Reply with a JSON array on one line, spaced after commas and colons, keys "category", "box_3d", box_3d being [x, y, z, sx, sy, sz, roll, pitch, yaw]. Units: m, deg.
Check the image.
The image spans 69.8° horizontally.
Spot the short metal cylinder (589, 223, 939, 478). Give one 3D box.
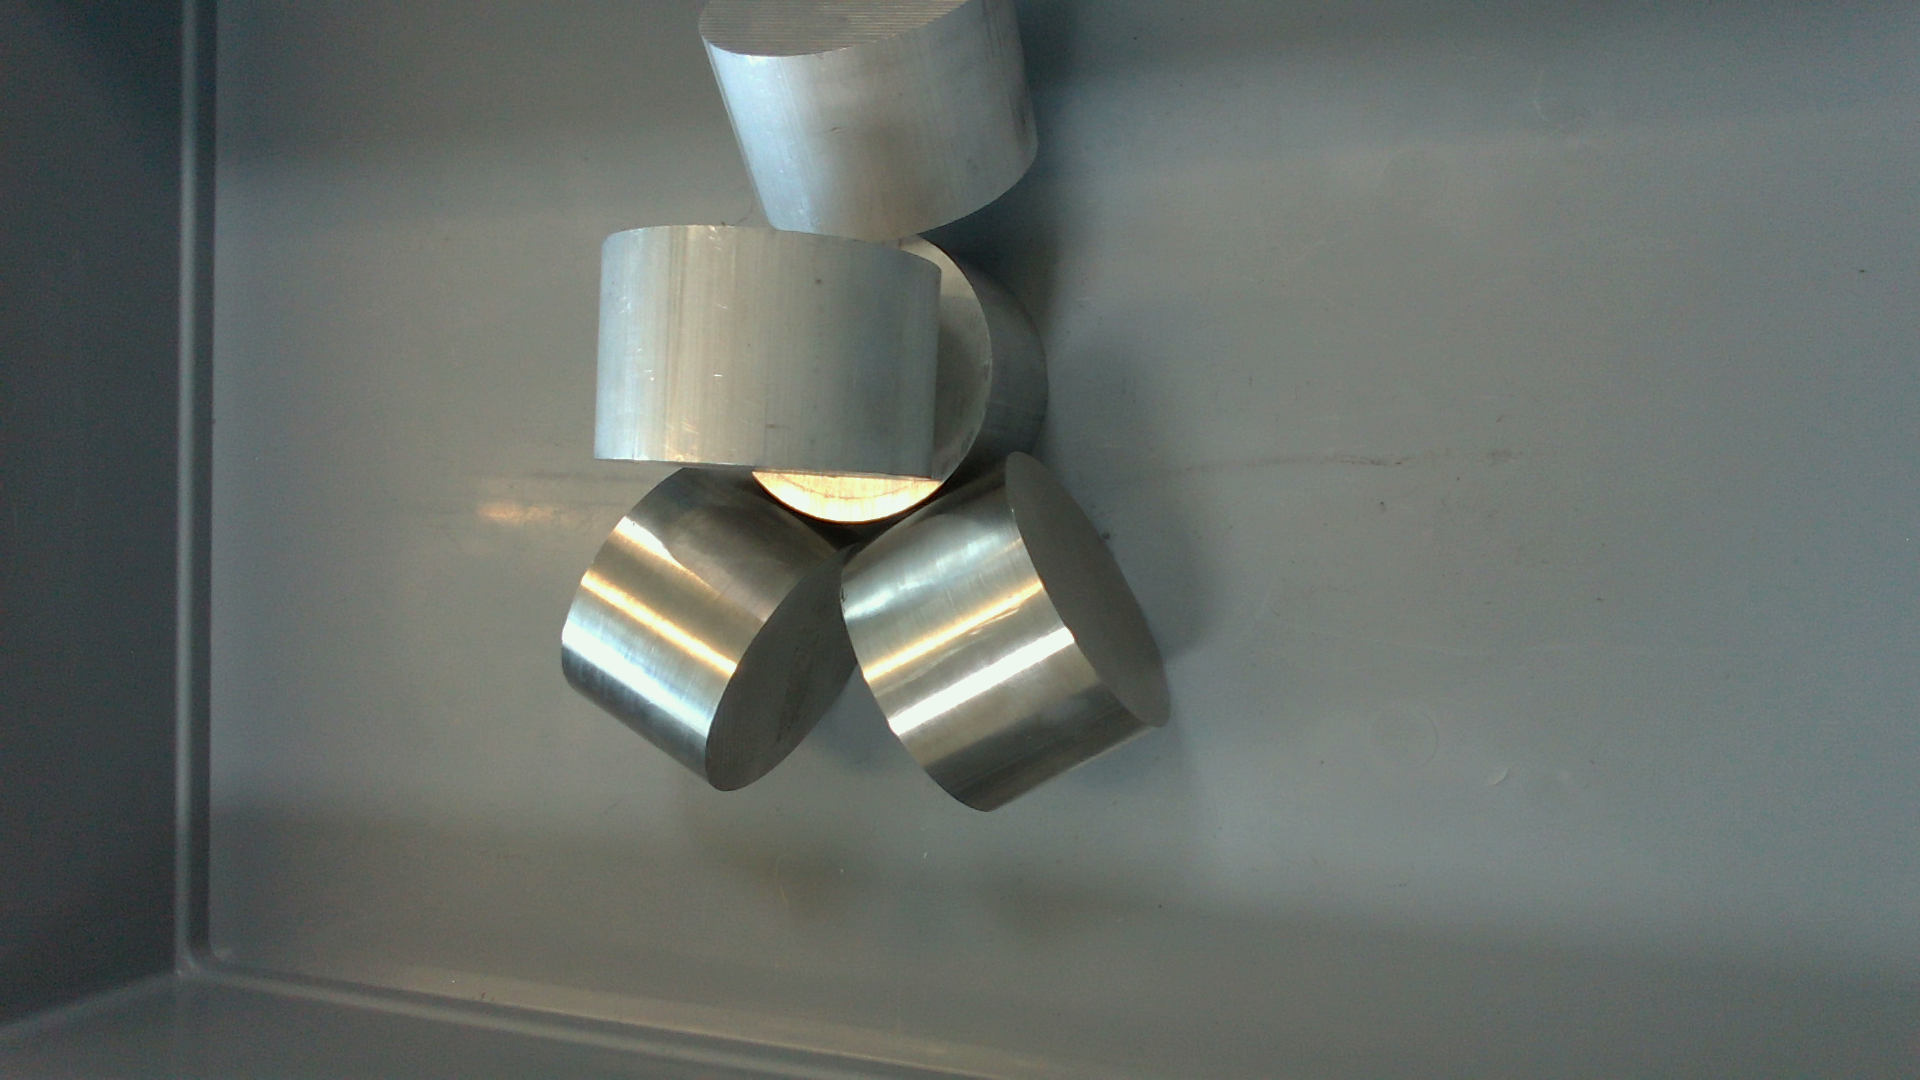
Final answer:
[{"category": "short metal cylinder", "box_3d": [-0.046, -0.042, 0.328, 0.080, 0.080, 0.050, 3, 91, 20]}]

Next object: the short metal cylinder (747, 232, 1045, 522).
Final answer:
[{"category": "short metal cylinder", "box_3d": [-0.021, -0.045, 0.388, 0.080, 0.050, 0.080, 0, 90, 20]}]

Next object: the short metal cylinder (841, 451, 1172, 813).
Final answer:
[{"category": "short metal cylinder", "box_3d": [0.013, 0.024, 0.361, 0.050, 0.080, 0.080, -30, 80, 18]}]

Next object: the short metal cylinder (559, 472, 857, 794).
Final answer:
[{"category": "short metal cylinder", "box_3d": [-0.065, 0.024, 0.389, 0.050, 0.080, 0.080, 30, 100, 18]}]

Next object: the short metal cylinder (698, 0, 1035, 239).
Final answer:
[{"category": "short metal cylinder", "box_3d": [-0.023, -0.123, 0.367, 0.080, 0.080, 0.050, 4, 134, 20]}]
